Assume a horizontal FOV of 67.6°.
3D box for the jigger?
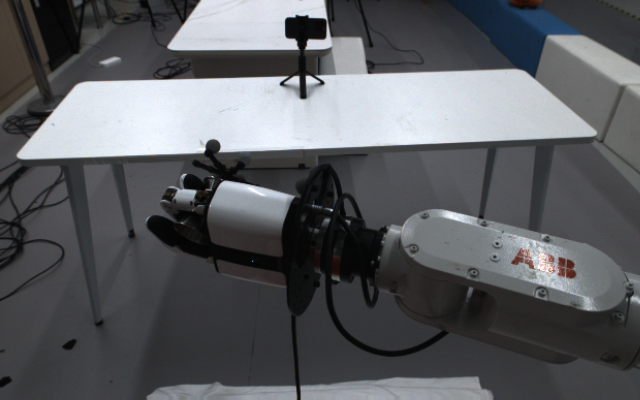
[{"bbox_3d":[-0.129,0.009,0.549,0.043,0.043,0.071,15,58,18],"label":"jigger"}]
